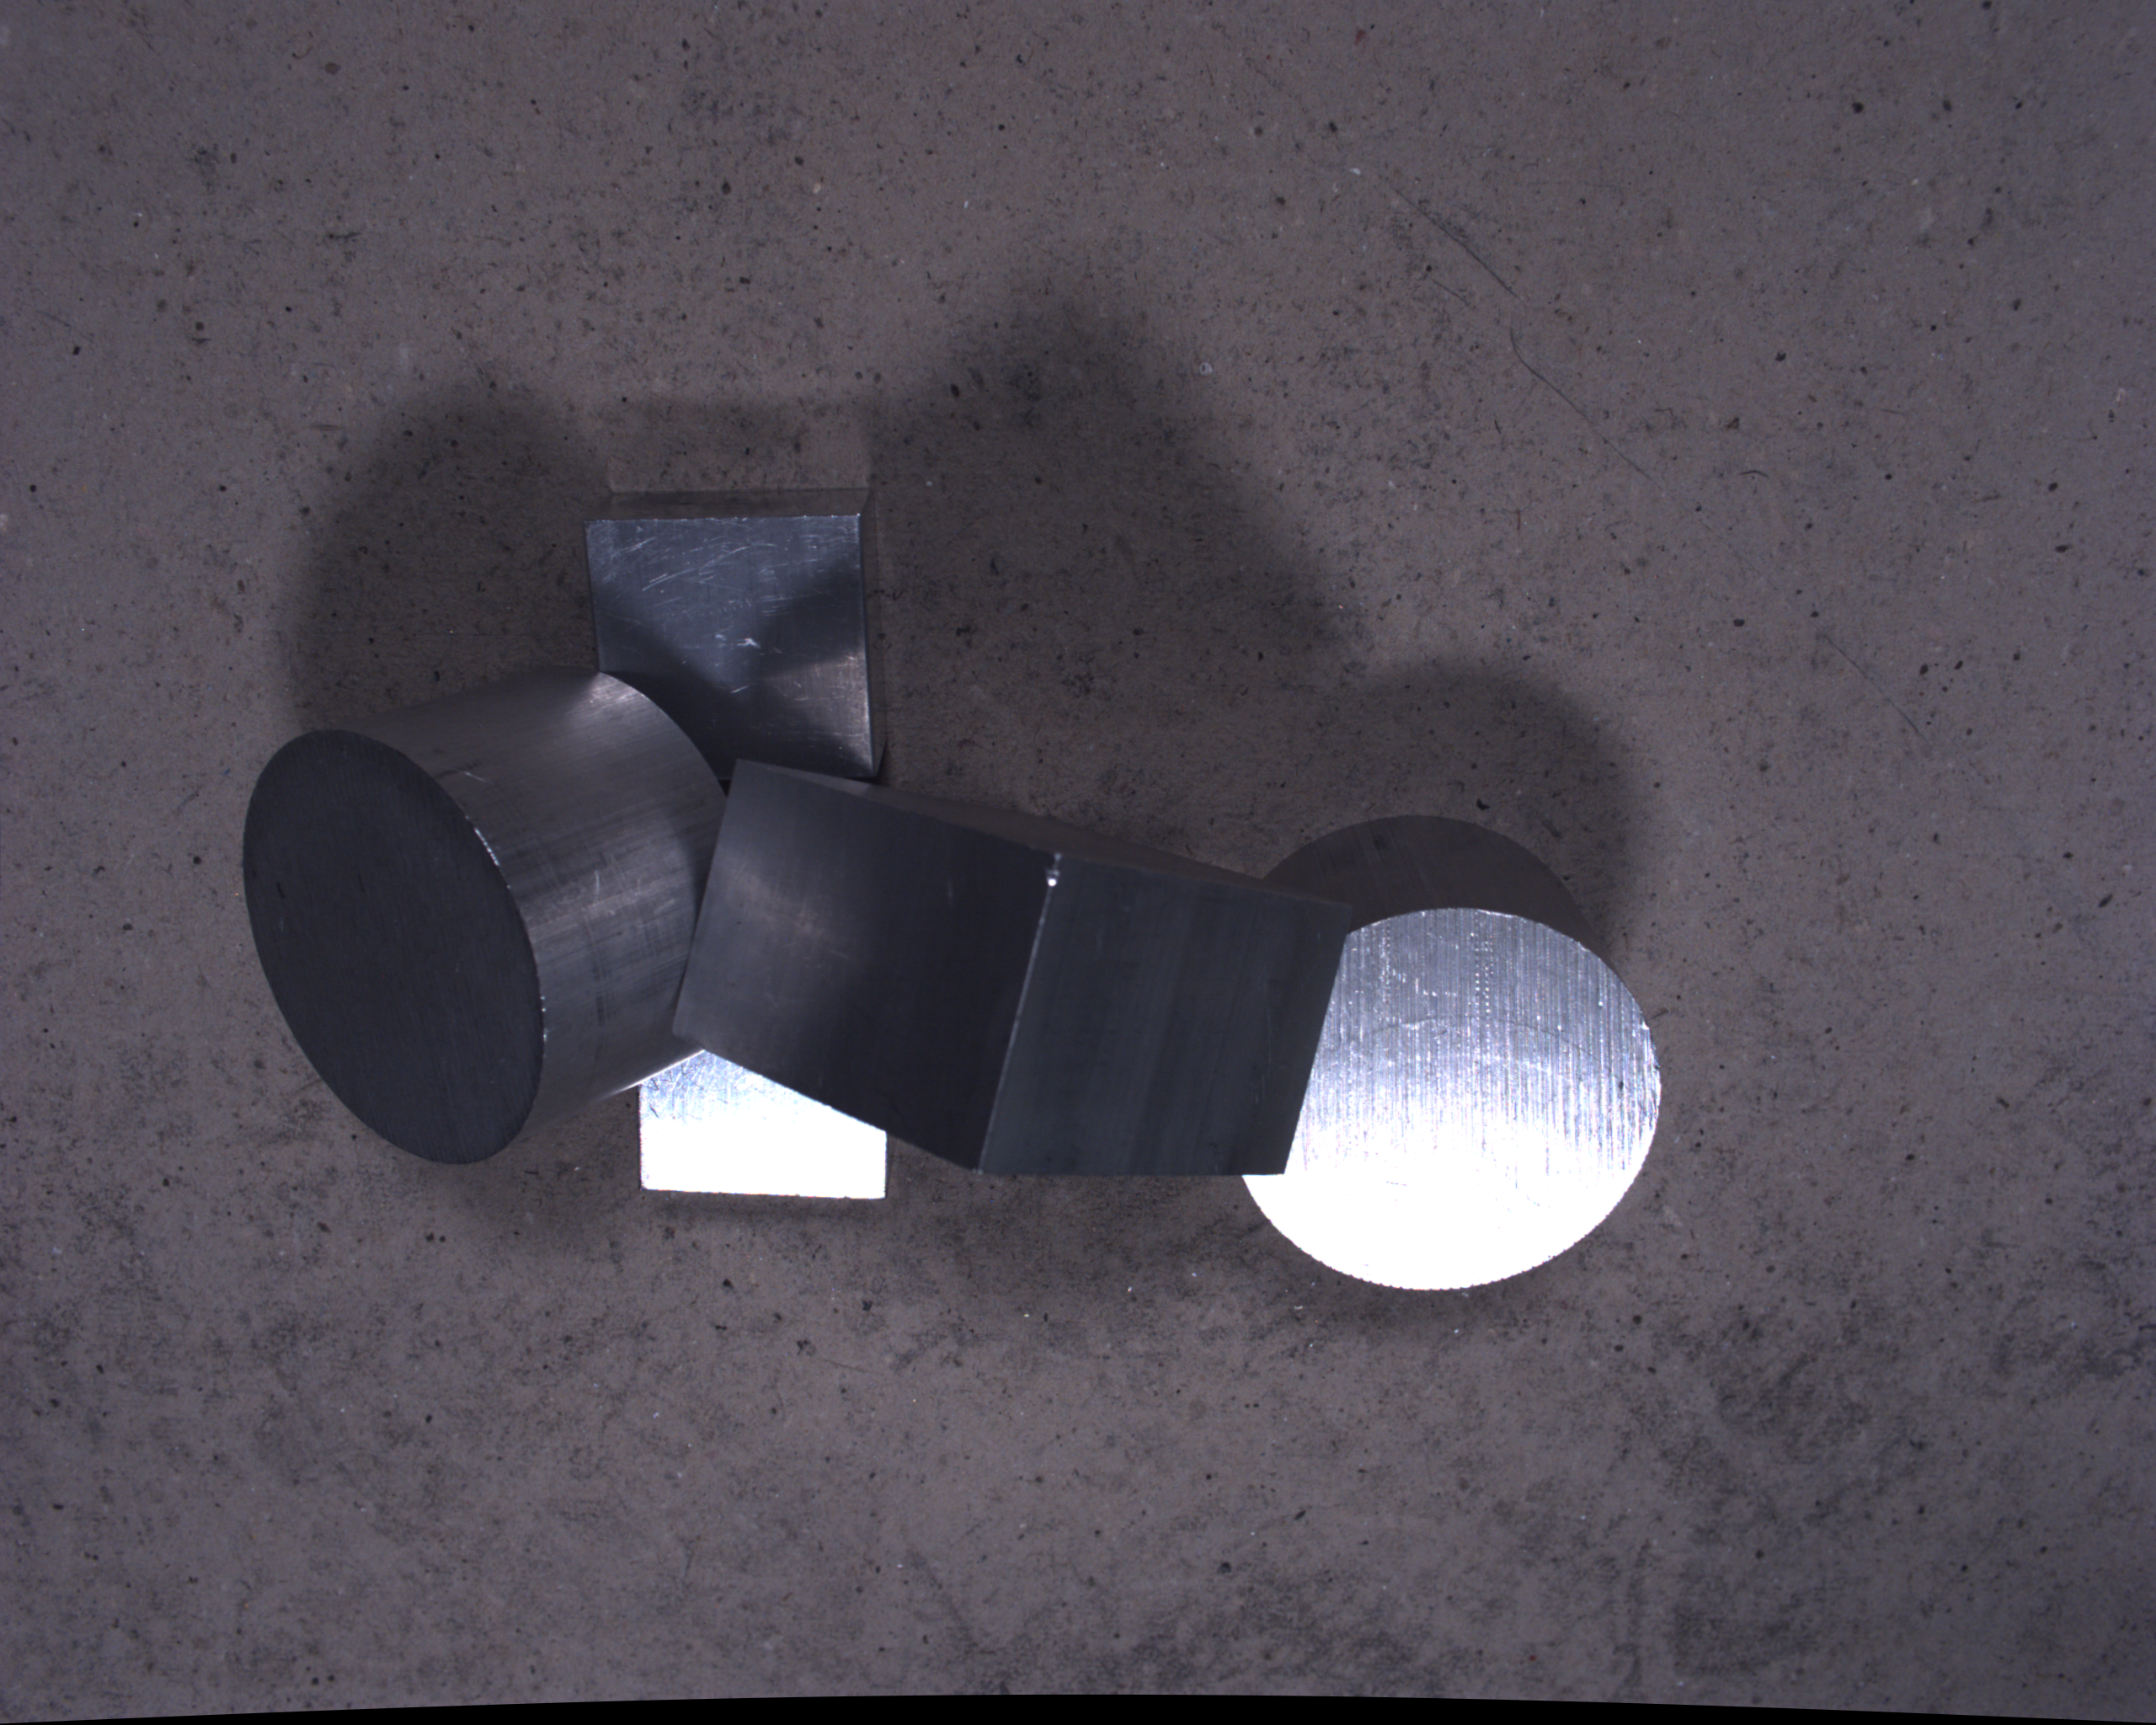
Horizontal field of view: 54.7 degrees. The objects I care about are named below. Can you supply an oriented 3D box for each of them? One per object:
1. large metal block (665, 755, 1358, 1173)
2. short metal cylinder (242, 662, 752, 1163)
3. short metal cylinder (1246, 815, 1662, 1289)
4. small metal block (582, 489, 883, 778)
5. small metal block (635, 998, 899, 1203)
[{"bbox_3d":[-0.011,0.018,0.368,0.081,0.080,0.050,10,95,-48],"label":"large metal block"},{"bbox_3d":[-0.105,0.008,0.380,0.080,0.050,0.079,14,115,33],"label":"short metal cylinder"},{"bbox_3d":[0.068,0.036,0.412,0.081,0.050,0.079,0,110,-1],"label":"short metal cylinder"},{"bbox_3d":[-0.063,-0.043,0.394,0.050,0.025,0.050,-1,110,0],"label":"small metal block"},{"bbox_3d":[-0.062,0.040,0.425,0.050,0.025,0.050,3,110,-2],"label":"small metal block"}]
